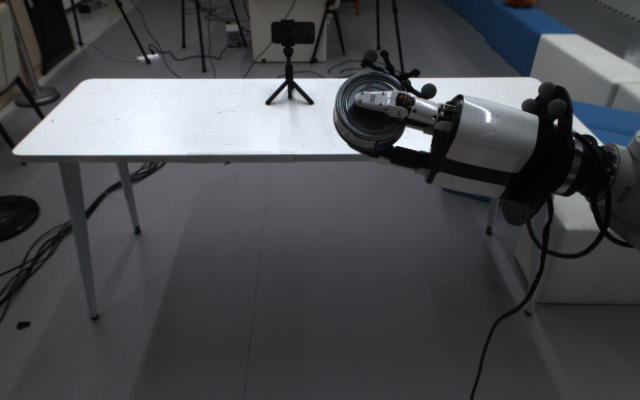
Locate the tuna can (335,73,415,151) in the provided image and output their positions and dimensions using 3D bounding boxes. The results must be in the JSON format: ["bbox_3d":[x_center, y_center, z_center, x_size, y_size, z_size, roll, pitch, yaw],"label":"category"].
[{"bbox_3d":[0.063,-0.094,0.546,0.085,0.034,0.085,0,74,0],"label":"tuna can"}]
